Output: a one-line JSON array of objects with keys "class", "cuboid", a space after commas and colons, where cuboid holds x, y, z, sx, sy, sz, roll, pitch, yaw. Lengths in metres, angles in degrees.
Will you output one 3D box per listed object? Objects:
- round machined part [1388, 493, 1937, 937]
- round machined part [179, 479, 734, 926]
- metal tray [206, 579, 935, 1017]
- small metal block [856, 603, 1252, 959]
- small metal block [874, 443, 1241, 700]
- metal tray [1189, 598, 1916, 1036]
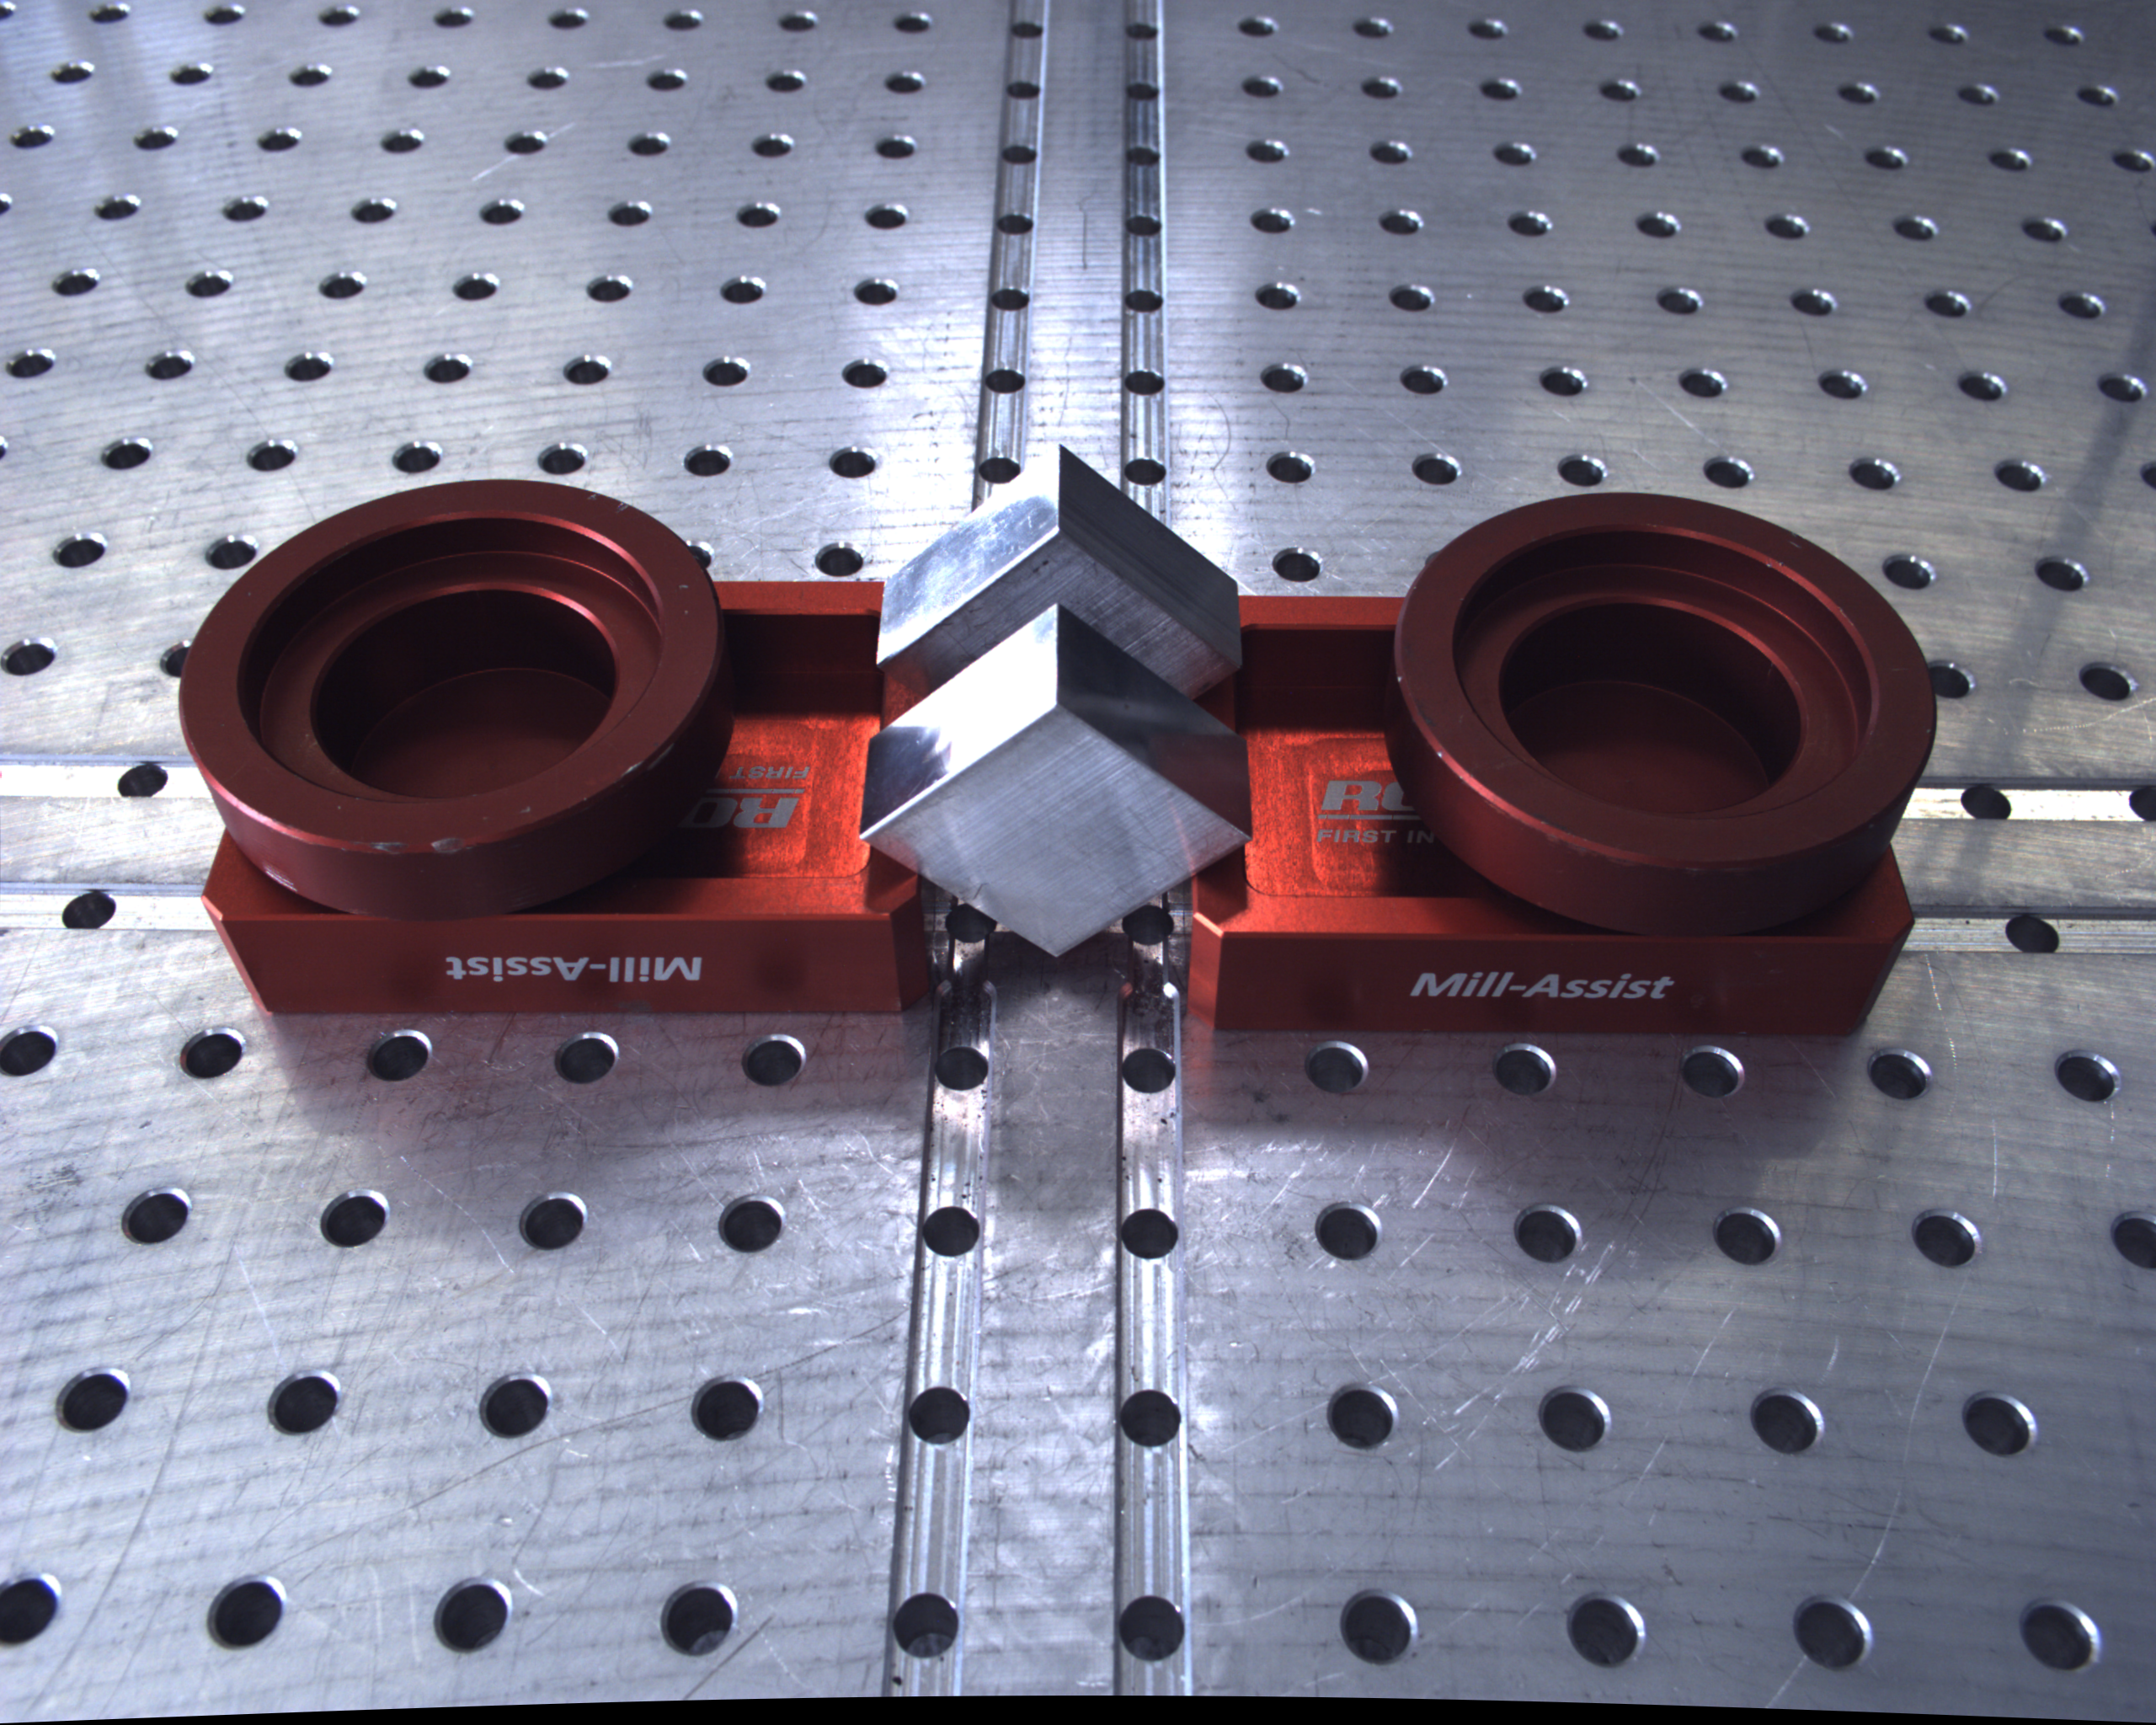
[{"class": "round machined part", "cuboid": [0.108, -0.024, 0.401, 0.099, 0.042, 0.098, 0, 50, 0]}, {"class": "round machined part", "cuboid": [-0.115, -0.026, 0.402, 0.099, 0.042, 0.098, 0, 50, 0]}, {"class": "metal tray", "cuboid": [-0.094, -0.015, 0.417, 0.131, 0.030, 0.090, 0, 52, -1]}, {"class": "small metal block", "cuboid": [-0.004, -0.013, 0.383, 0.050, 0.050, 0.025, -32, 40, 33]}, {"class": "small metal block", "cuboid": [-0.004, -0.047, 0.412, 0.050, 0.050, 0.025, -32, 40, 33]}, {"class": "metal tray", "cuboid": [0.087, -0.011, 0.415, 0.131, 0.030, 0.090, 1, 50, 0]}]
